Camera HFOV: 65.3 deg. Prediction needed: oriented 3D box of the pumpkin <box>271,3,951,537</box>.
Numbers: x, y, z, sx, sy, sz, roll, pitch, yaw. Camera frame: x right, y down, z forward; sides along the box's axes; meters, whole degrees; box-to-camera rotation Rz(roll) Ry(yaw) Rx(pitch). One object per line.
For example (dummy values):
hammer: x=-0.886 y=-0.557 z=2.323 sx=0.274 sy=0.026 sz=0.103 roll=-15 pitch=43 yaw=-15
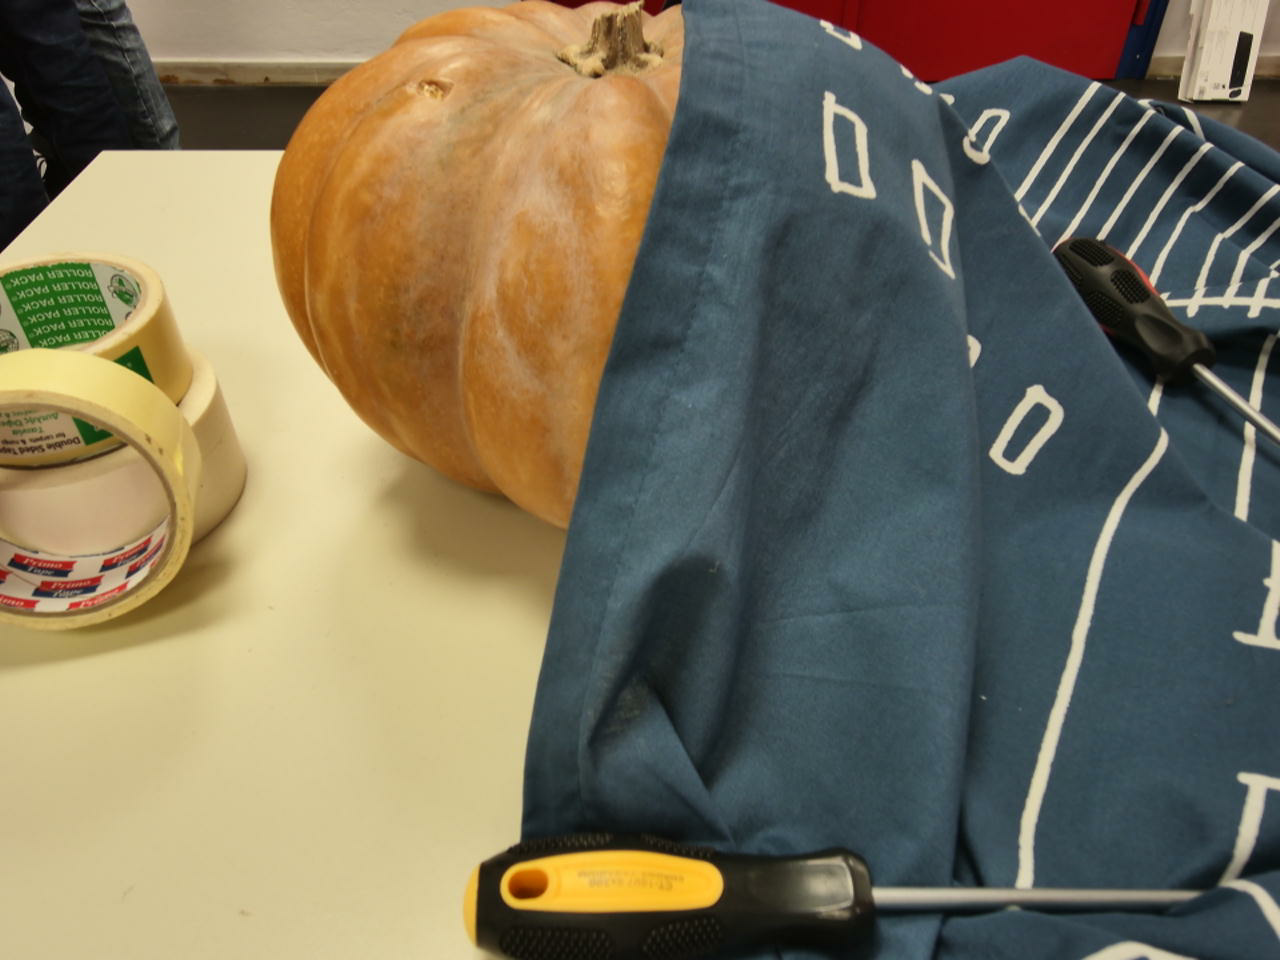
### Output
pumpkin: x=-0.009 y=-0.096 z=0.410 sx=0.277 sy=0.181 sz=0.277 roll=0 pitch=39 yaw=0
